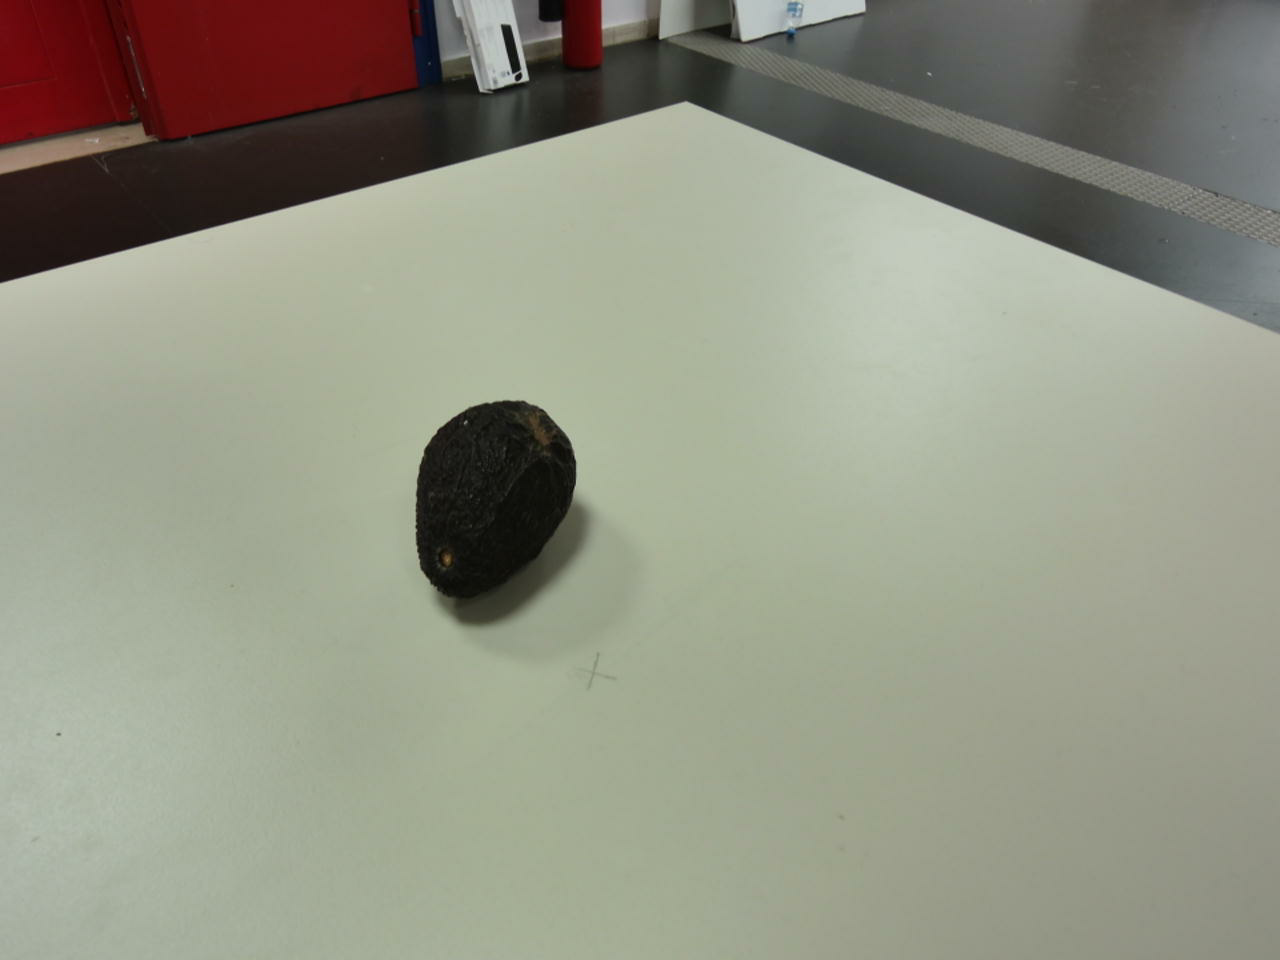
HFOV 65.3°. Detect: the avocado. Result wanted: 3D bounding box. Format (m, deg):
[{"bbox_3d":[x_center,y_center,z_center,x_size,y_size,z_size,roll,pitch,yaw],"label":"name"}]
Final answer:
[{"bbox_3d":[-0.062,0.004,0.408,0.062,0.062,0.092,17,40,20],"label":"avocado"}]
